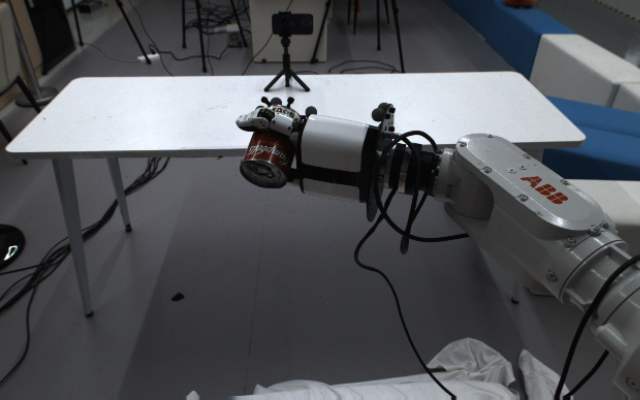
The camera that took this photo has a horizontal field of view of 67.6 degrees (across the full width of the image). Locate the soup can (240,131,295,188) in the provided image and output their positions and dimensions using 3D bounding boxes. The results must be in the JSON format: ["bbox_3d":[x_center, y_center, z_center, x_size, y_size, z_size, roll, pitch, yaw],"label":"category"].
[{"bbox_3d":[-0.066,-0.076,0.680,0.067,0.067,0.101,9,59,10],"label":"soup can"}]
